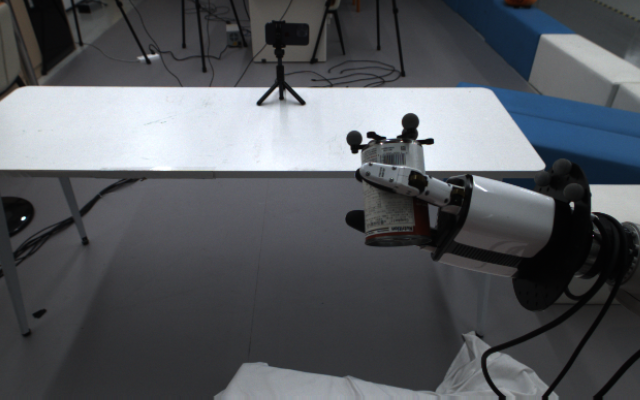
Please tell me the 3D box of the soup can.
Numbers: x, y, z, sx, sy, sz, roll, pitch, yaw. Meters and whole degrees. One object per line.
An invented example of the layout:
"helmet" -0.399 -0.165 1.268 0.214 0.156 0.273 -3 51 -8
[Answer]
"soup can" 0.079 -0.008 0.506 0.067 0.067 0.101 0 75 -3
